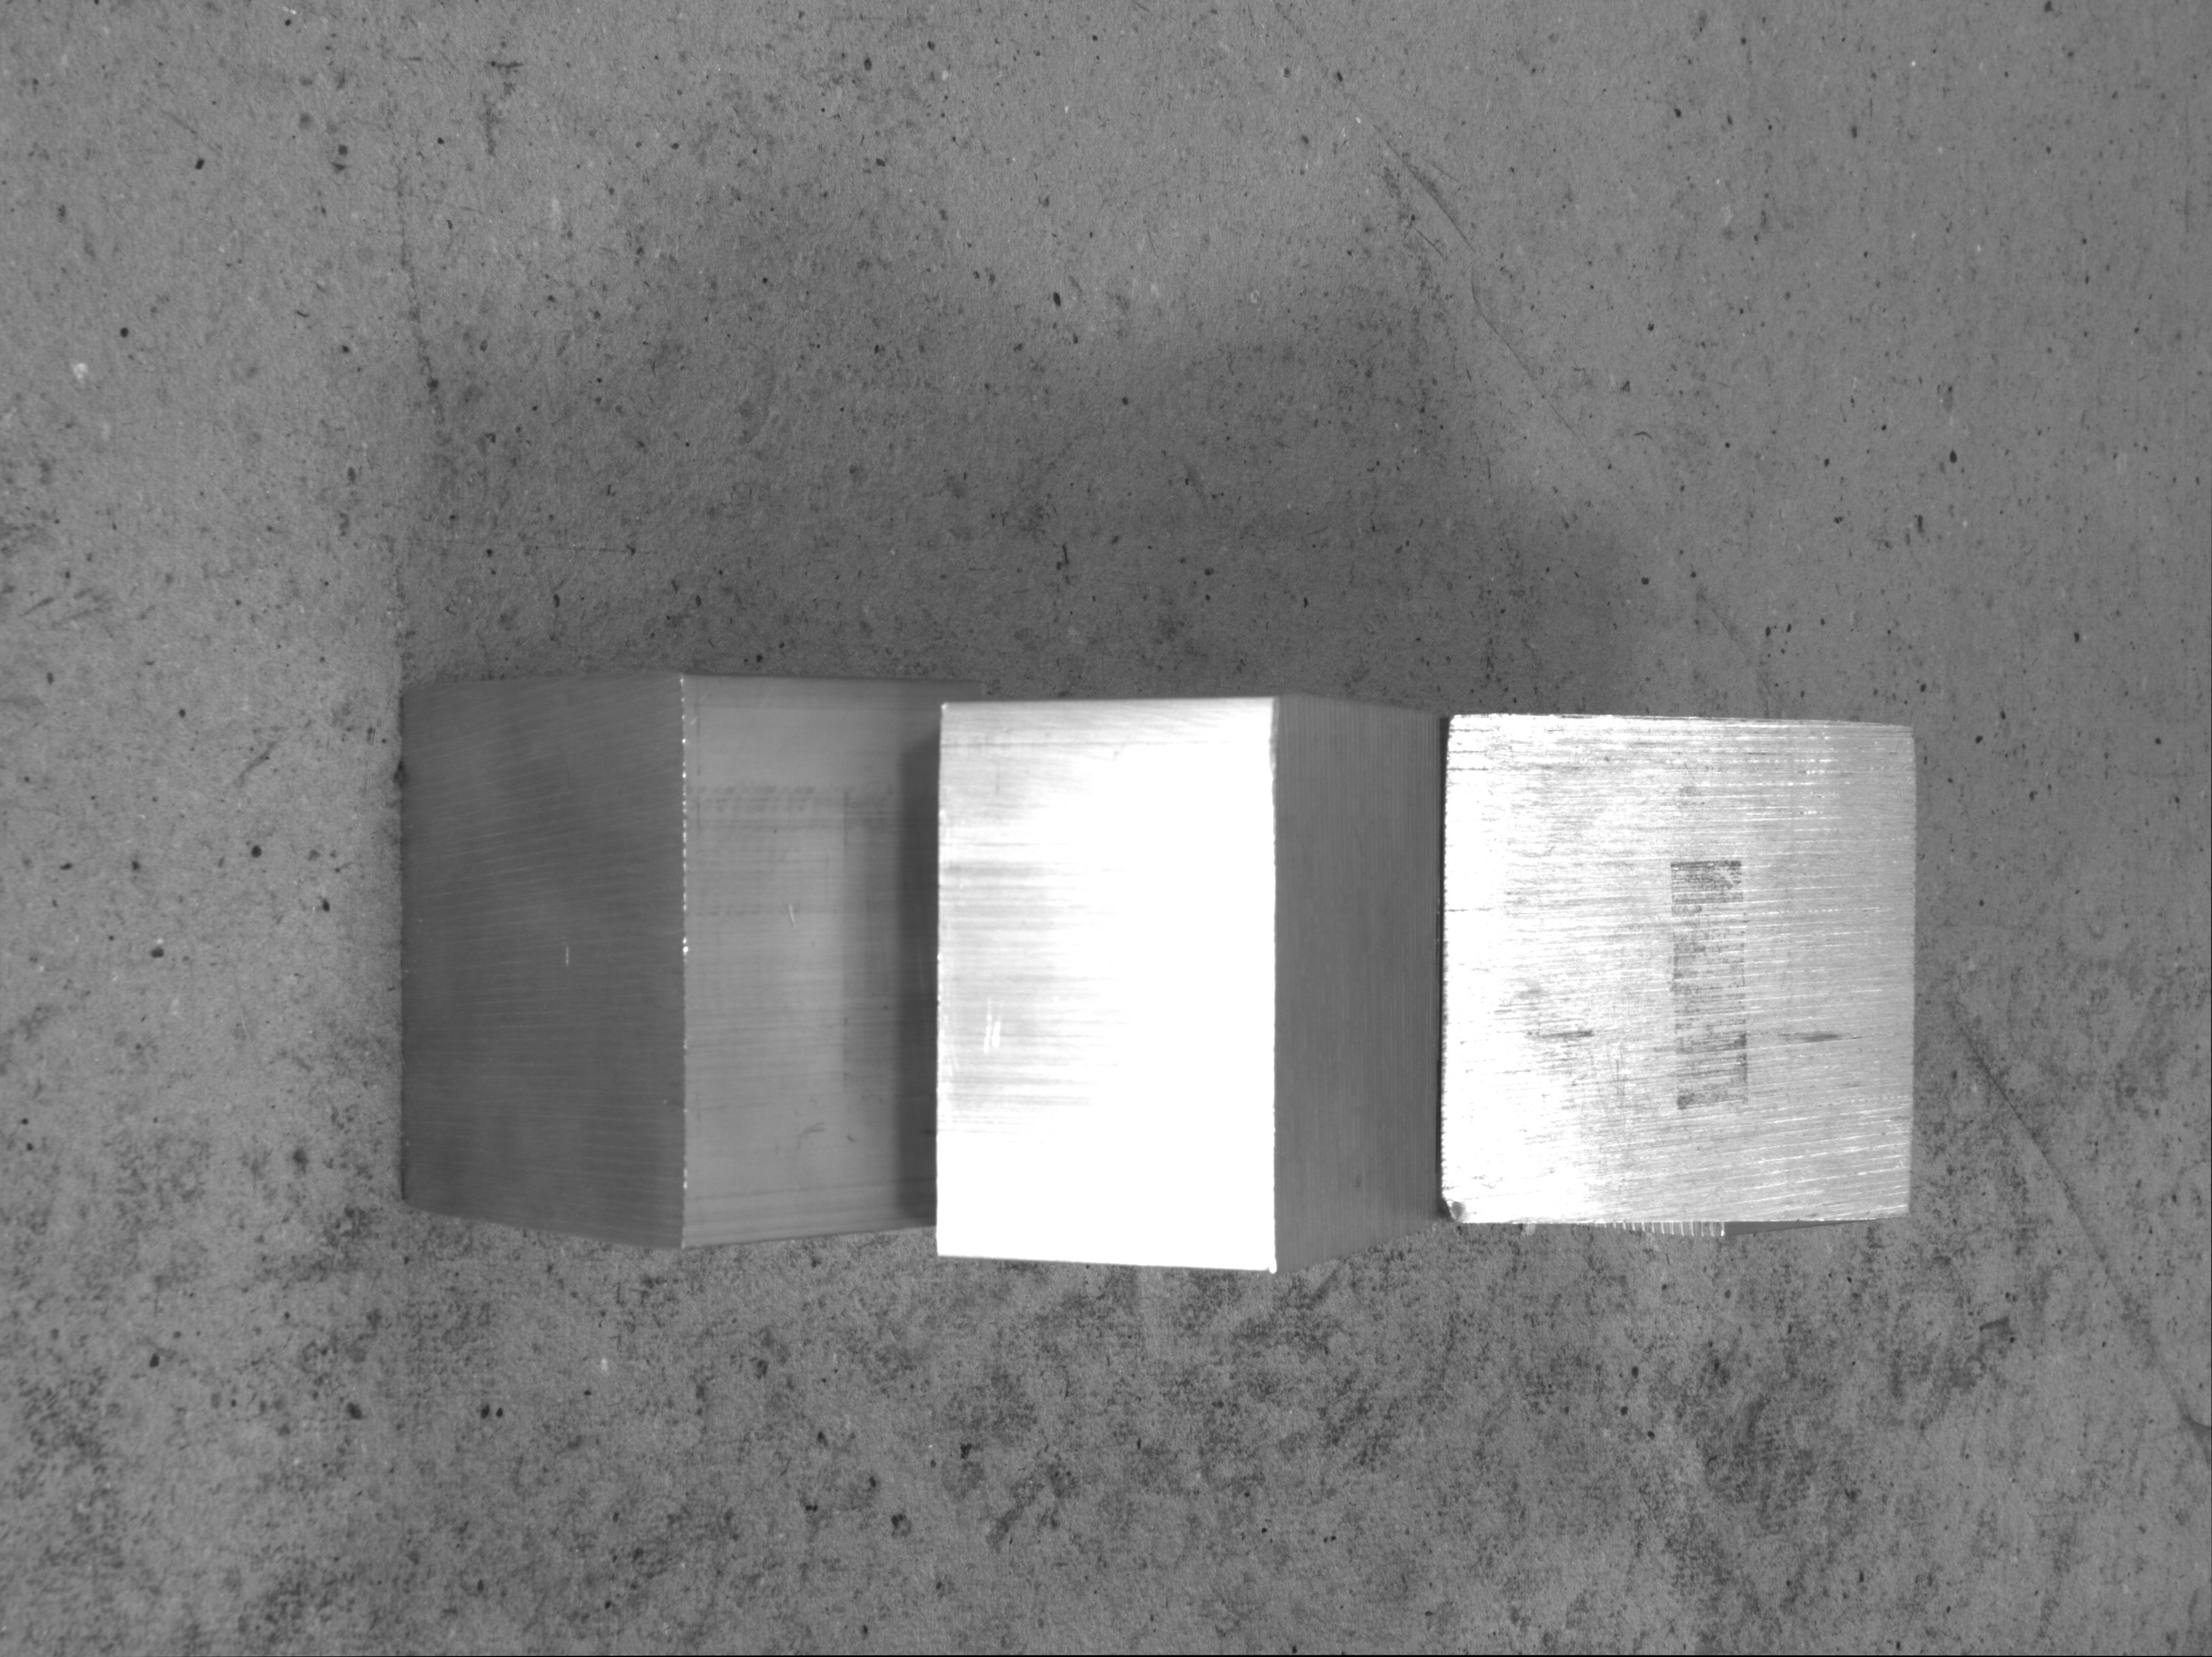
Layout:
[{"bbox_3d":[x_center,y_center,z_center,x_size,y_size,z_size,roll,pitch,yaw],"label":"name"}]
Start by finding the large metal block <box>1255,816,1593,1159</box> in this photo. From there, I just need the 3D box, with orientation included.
[{"bbox_3d":[0.042,0.025,0.653,0.080,0.050,0.080,0,90,-40],"label":"large metal block"}]

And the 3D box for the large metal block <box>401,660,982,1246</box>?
[{"bbox_3d":[-0.063,0.018,0.547,0.050,0.080,0.080,0,89,-39],"label":"large metal block"}]

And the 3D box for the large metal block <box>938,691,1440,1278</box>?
[{"bbox_3d":[0.014,0.022,0.546,0.080,0.050,0.080,2,88,-69],"label":"large metal block"}]

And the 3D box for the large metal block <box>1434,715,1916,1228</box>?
[{"bbox_3d":[0.086,0.023,0.606,0.080,0.050,0.080,1,89,-13],"label":"large metal block"}]

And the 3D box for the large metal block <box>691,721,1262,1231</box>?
[{"bbox_3d":[-0.021,0.022,0.602,0.080,0.050,0.080,0,90,-40],"label":"large metal block"}]

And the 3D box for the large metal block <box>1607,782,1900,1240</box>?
[{"bbox_3d":[0.101,0.032,0.685,0.050,0.080,0.080,0,90,-40],"label":"large metal block"}]
